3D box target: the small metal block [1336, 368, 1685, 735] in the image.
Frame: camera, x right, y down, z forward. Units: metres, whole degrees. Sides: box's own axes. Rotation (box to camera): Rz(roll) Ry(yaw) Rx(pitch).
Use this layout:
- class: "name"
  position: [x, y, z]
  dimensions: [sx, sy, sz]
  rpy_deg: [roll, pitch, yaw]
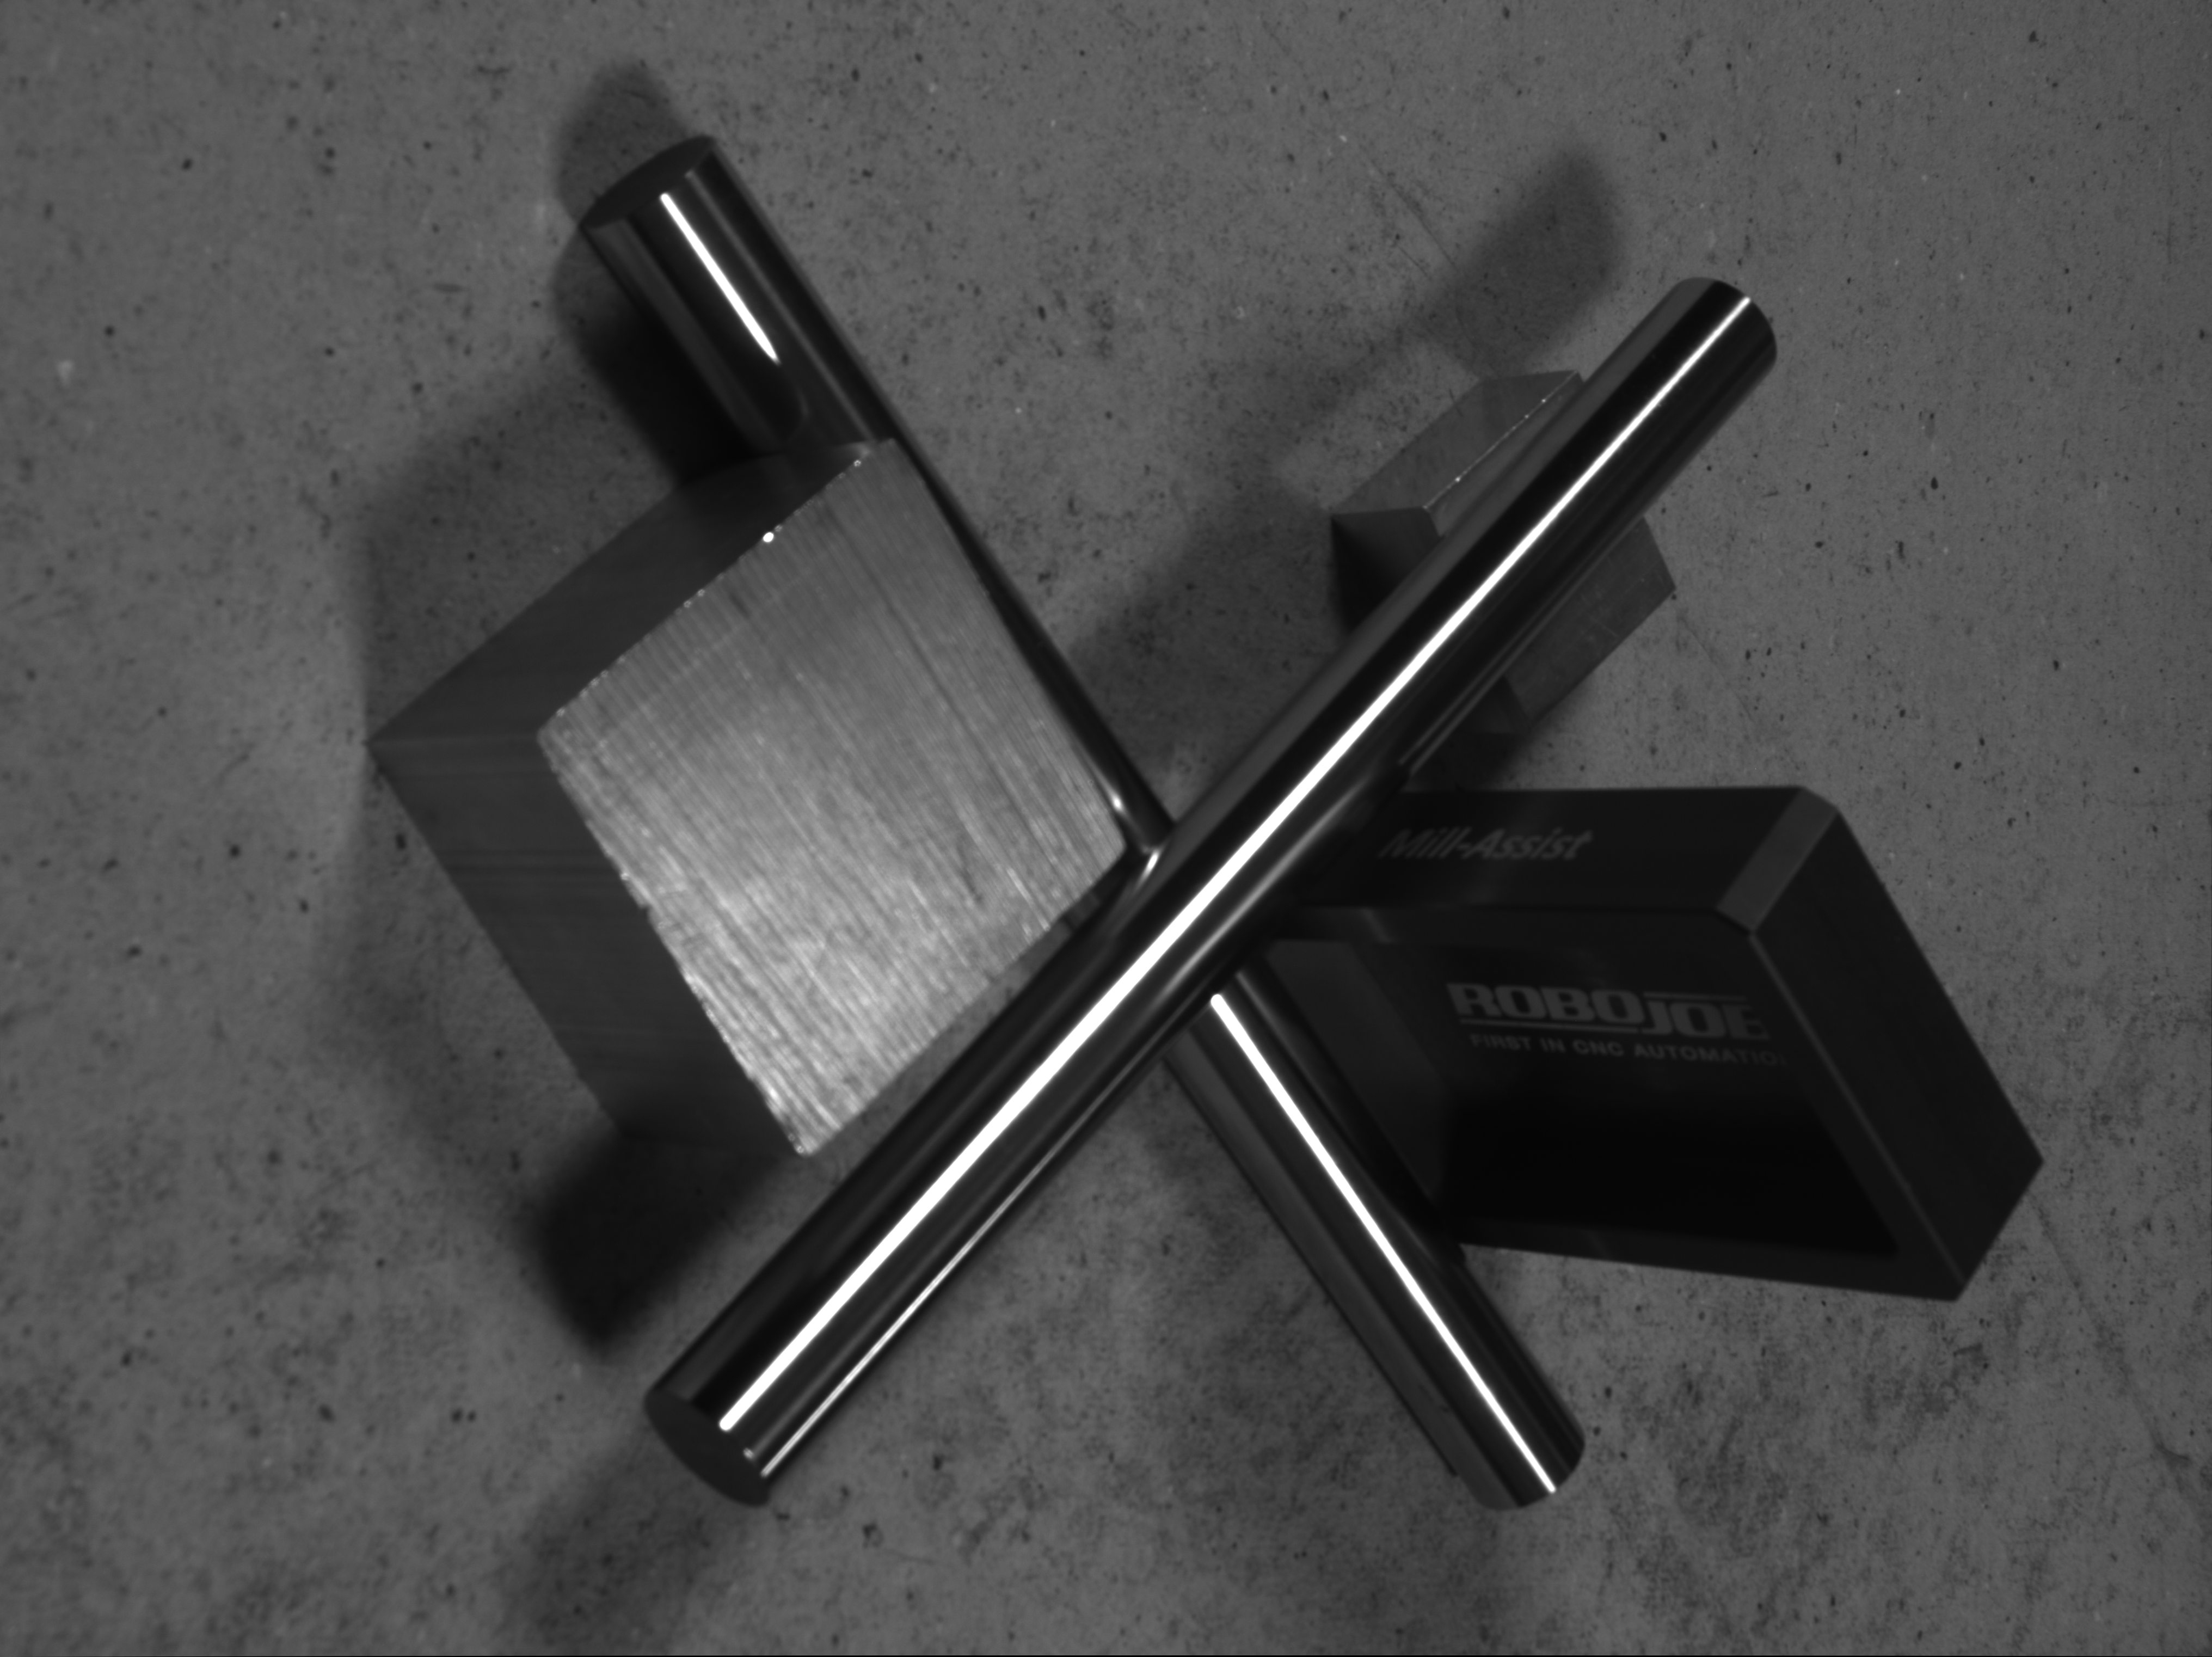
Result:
- class: "small metal block"
  position: [0.078, -0.053, 0.702]
  dimensions: [0.050, 0.025, 0.050]
  rpy_deg: [-43, 116, -31]

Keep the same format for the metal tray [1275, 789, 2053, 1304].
- class: "metal tray"
  position: [0.090, 0.036, 0.643]
  dimensions: [0.030, 0.130, 0.090]
  rpy_deg: [-49, 119, -28]

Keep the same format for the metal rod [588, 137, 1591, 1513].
- class: "metal rod"
  position: [0.006, 0.010, 0.642]
  dimensions: [0.025, 0.025, 0.300]
  rpy_deg: [-49, 119, -29]

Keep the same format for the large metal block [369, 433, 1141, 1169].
- class: "large metal block"
  position: [-0.053, -0.005, 0.575]
  dimensions: [0.080, 0.050, 0.080]
  rpy_deg: [-44, 116, -31]

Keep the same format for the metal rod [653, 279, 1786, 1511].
- class: "metal rod"
  position: [0.030, 0.000, 0.630]
  dimensions: [0.300, 0.025, 0.025]
  rpy_deg: [-47, 118, -30]
